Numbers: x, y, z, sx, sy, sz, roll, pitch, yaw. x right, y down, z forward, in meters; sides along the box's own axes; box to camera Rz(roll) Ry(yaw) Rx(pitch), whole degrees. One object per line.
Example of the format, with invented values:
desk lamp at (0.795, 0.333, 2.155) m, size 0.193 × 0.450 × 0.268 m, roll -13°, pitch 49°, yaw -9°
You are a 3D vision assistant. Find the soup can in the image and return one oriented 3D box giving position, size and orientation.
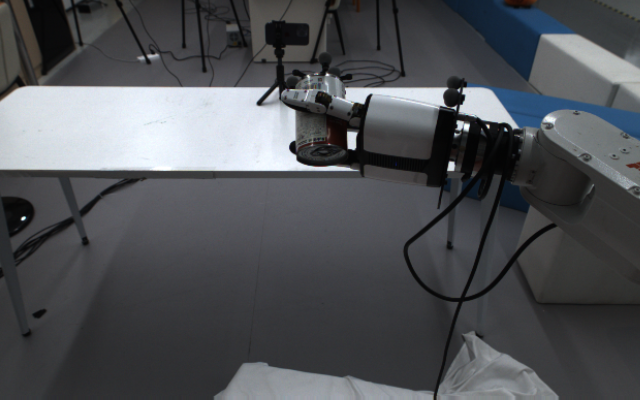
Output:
soup can at (0.003, -0.104, 0.624) m, size 0.067 × 0.067 × 0.101 m, roll -1°, pitch 71°, yaw -5°
